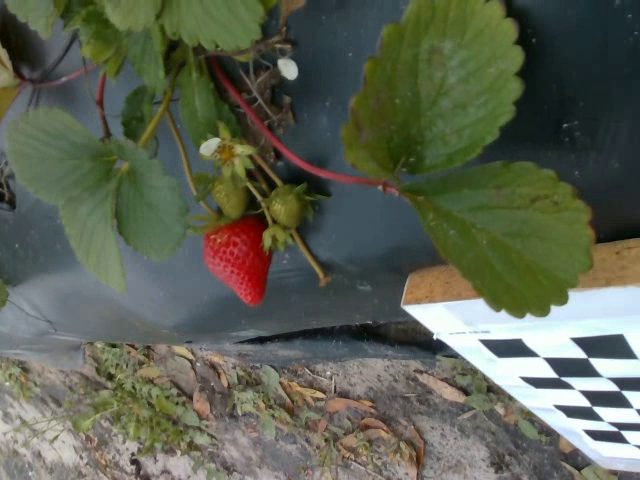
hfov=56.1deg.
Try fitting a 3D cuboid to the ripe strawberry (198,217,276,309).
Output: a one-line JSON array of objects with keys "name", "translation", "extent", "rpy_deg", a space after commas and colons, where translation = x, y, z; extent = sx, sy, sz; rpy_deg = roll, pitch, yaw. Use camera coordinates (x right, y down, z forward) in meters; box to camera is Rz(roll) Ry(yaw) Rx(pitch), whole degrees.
[{"name": "ripe strawberry", "translation": [-0.012, 0.004, 0.091], "extent": [0.018, 0.017, 0.014], "rpy_deg": [-17, 5, 31]}]
